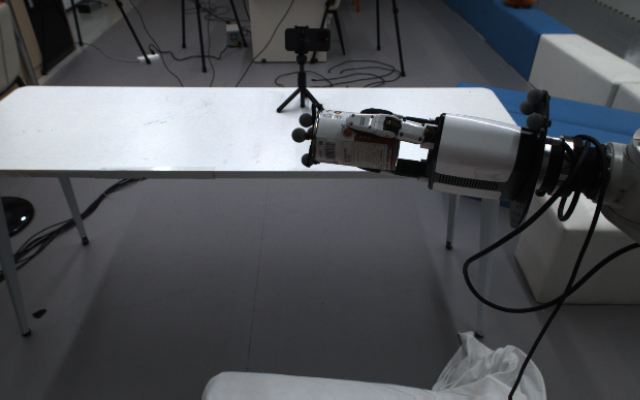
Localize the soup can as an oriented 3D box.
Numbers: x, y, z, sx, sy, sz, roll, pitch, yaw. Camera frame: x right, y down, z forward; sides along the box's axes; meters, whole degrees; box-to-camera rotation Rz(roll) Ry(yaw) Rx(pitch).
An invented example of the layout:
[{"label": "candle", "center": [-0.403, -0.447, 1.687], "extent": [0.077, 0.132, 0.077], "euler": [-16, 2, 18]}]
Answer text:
[{"label": "soup can", "center": [0.049, -0.075, 0.602], "extent": [0.101, 0.067, 0.067], "euler": [7, 35, 10]}]
